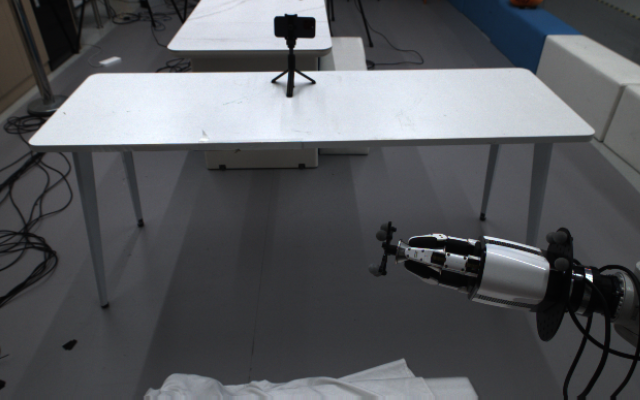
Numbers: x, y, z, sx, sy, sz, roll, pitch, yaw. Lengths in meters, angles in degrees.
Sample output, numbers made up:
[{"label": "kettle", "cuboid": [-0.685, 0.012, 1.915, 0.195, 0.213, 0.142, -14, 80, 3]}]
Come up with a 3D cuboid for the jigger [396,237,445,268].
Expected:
[{"label": "jigger", "cuboid": [0.156, 0.078, 0.721, 0.071, 0.043, 0.043, 10, 35, 16]}]
